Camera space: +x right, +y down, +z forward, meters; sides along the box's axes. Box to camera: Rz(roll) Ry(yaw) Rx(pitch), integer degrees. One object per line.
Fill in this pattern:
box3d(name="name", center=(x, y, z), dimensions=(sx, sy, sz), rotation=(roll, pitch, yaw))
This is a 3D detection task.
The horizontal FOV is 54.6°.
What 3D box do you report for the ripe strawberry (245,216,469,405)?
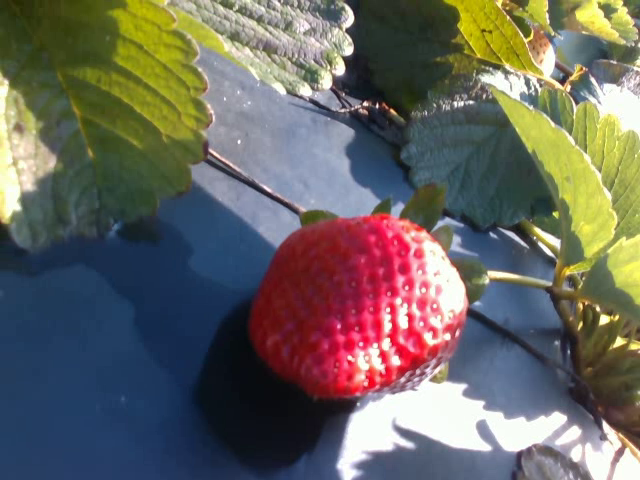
box3d(name="ripe strawberry", center=(0.006, 0.014, 0.113), dimensions=(0.044, 0.042, 0.055), rotation=(-5, 16, 25))
